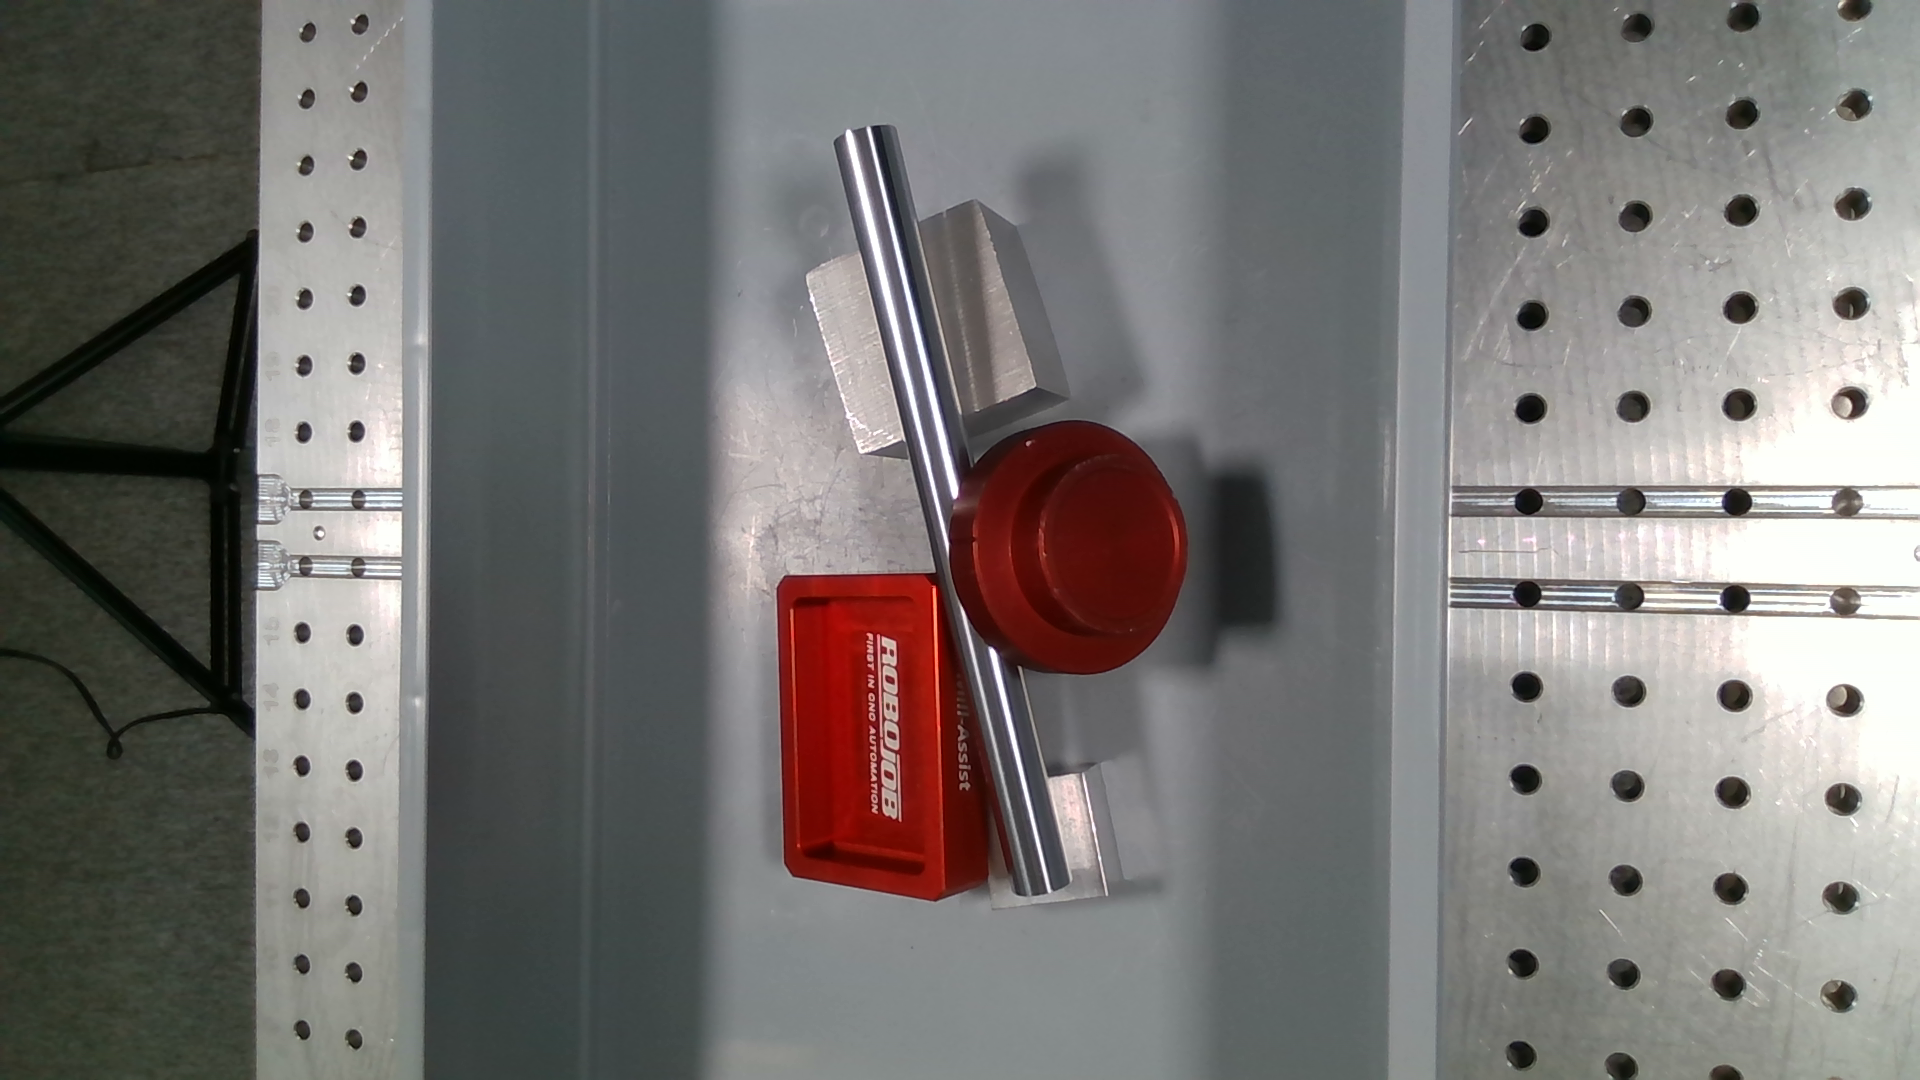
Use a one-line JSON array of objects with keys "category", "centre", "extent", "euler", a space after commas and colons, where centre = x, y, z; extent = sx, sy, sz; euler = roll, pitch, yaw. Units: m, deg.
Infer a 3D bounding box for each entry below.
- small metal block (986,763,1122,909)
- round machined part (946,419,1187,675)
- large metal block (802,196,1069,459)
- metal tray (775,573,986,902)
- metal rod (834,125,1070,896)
[{"category": "small metal block", "centre": [0.035, 0.123, 0.572], "extent": [0.050, 0.025, 0.050], "euler": [-12, 86, 20]}, {"category": "round machined part", "centre": [0.047, 0.002, 0.526], "extent": [0.042, 0.098, 0.098], "euler": [-6, 88, 61]}, {"category": "large metal block", "centre": [-0.009, -0.085, 0.573], "extent": [0.080, 0.050, 0.080], "euler": [-19, 84, 19]}, {"category": "metal tray", "centre": [-0.035, 0.079, 0.580], "extent": [0.090, 0.030, 0.130], "euler": [-2, 90, 40]}, {"category": "metal rod", "centre": [-0.002, -0.009, 0.537], "extent": [0.025, 0.025, 0.300], "euler": [-12, 94, 20]}]
